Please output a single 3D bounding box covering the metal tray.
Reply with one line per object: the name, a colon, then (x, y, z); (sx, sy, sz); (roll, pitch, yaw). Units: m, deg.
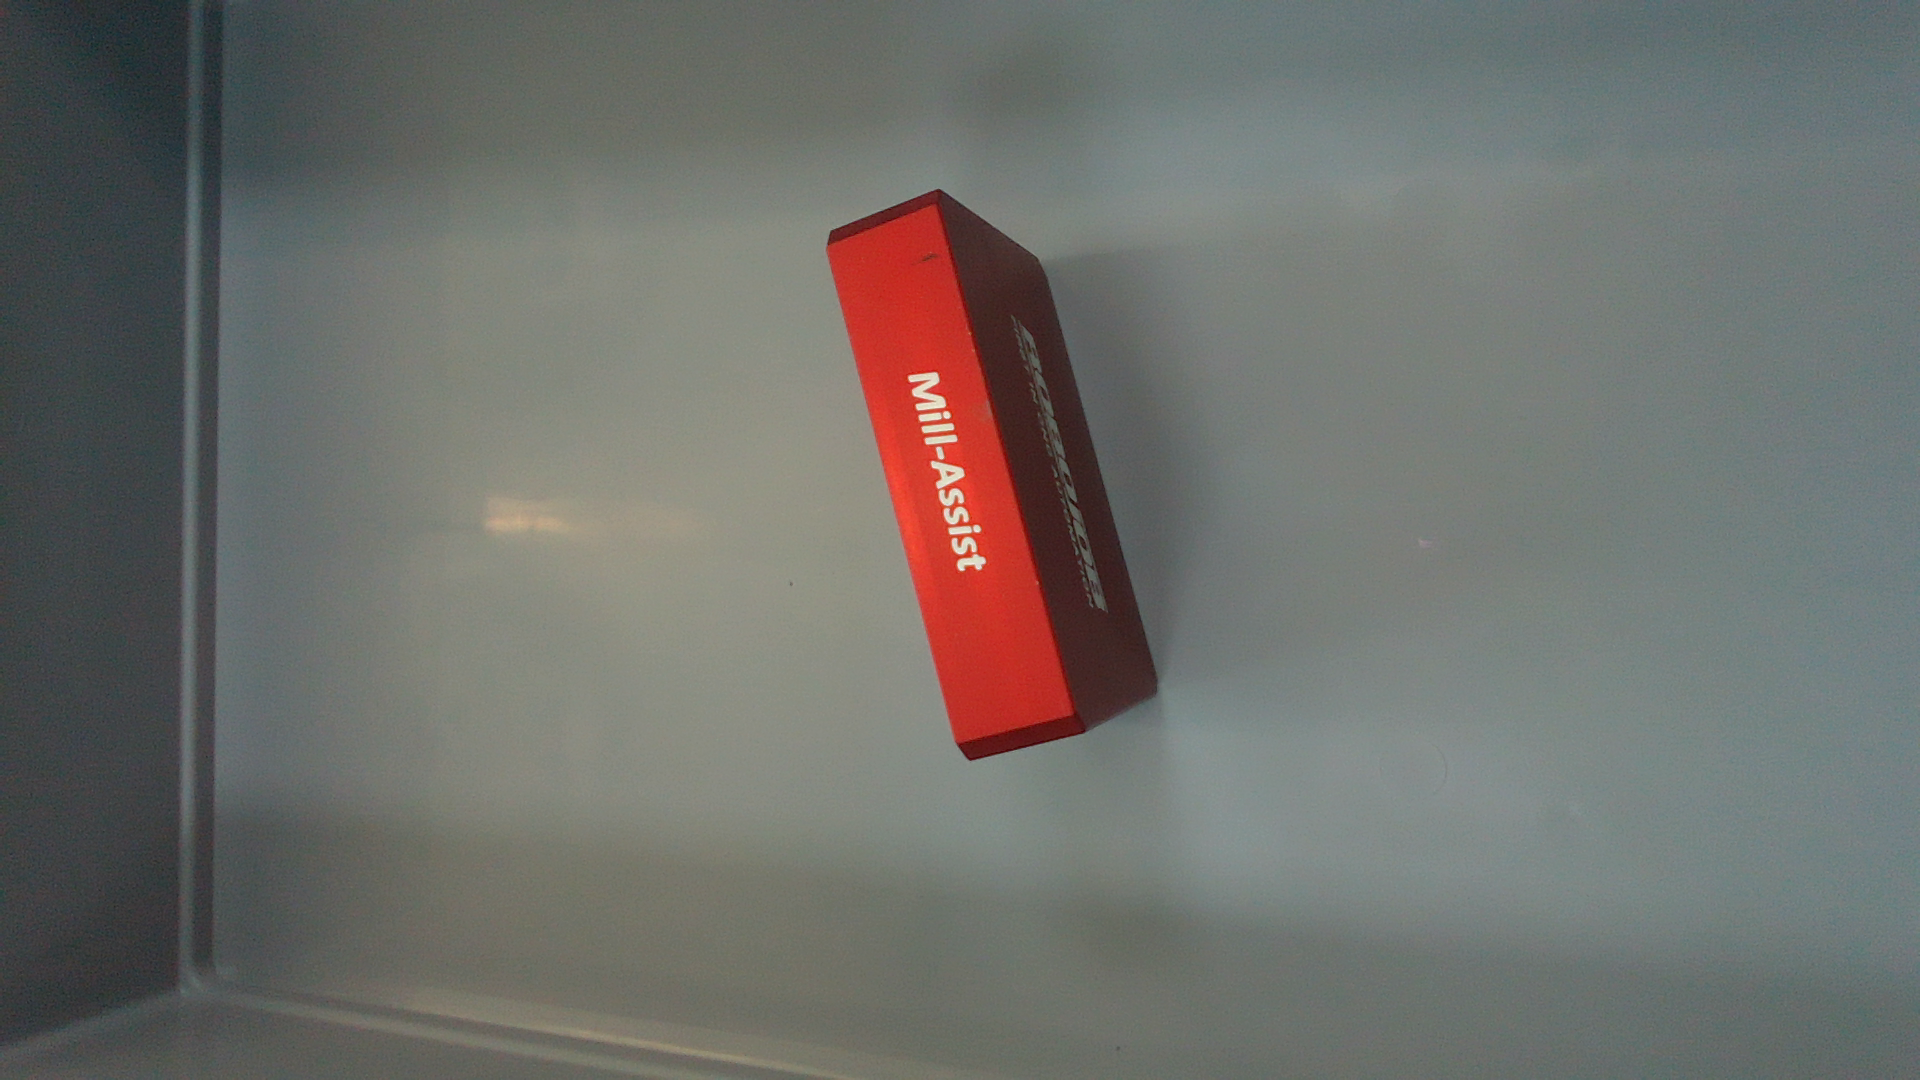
metal tray: (0.012, -0.015, 0.354); (0.030, 0.090, 0.130); (-17, 85, 18)
